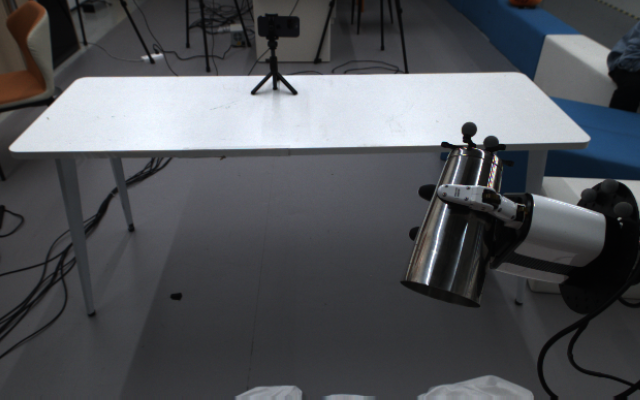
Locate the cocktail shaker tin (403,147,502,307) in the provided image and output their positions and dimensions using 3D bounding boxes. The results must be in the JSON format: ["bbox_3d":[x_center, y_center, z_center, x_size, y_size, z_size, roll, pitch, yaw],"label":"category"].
[{"bbox_3d":[0.163,0.029,0.566,0.093,0.093,0.170,15,75,18],"label":"cocktail shaker tin"}]
